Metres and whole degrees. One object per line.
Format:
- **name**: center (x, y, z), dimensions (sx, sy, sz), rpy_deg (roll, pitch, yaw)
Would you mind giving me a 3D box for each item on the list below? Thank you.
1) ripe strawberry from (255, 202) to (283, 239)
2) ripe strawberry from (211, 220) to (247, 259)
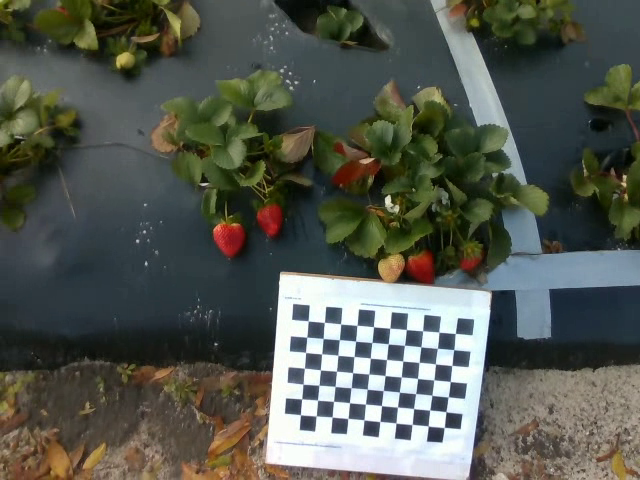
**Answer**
- **ripe strawberry**: center (-0.071, -0.029, 0.964), dimensions (0.042, 0.053, 0.034), rpy_deg (-11, -26, 5)
- **ripe strawberry**: center (-0.131, 0.001, 0.961), dimensions (0.050, 0.061, 0.045), rpy_deg (-6, -29, 4)
